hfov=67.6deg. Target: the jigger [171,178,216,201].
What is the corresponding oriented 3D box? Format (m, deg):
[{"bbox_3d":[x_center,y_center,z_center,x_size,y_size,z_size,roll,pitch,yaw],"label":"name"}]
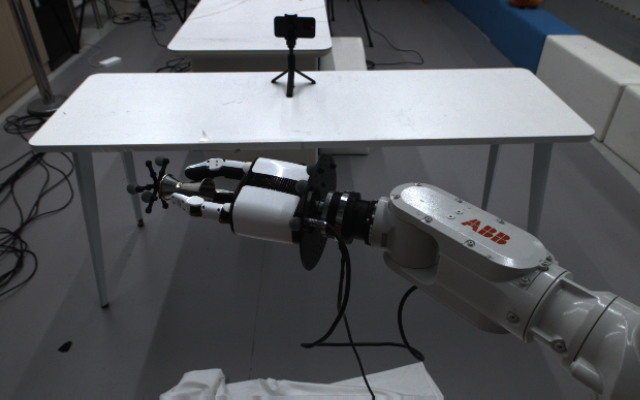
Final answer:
[{"bbox_3d":[-0.186,-0.021,0.706,0.071,0.043,0.043,7,35,17],"label":"jigger"}]
